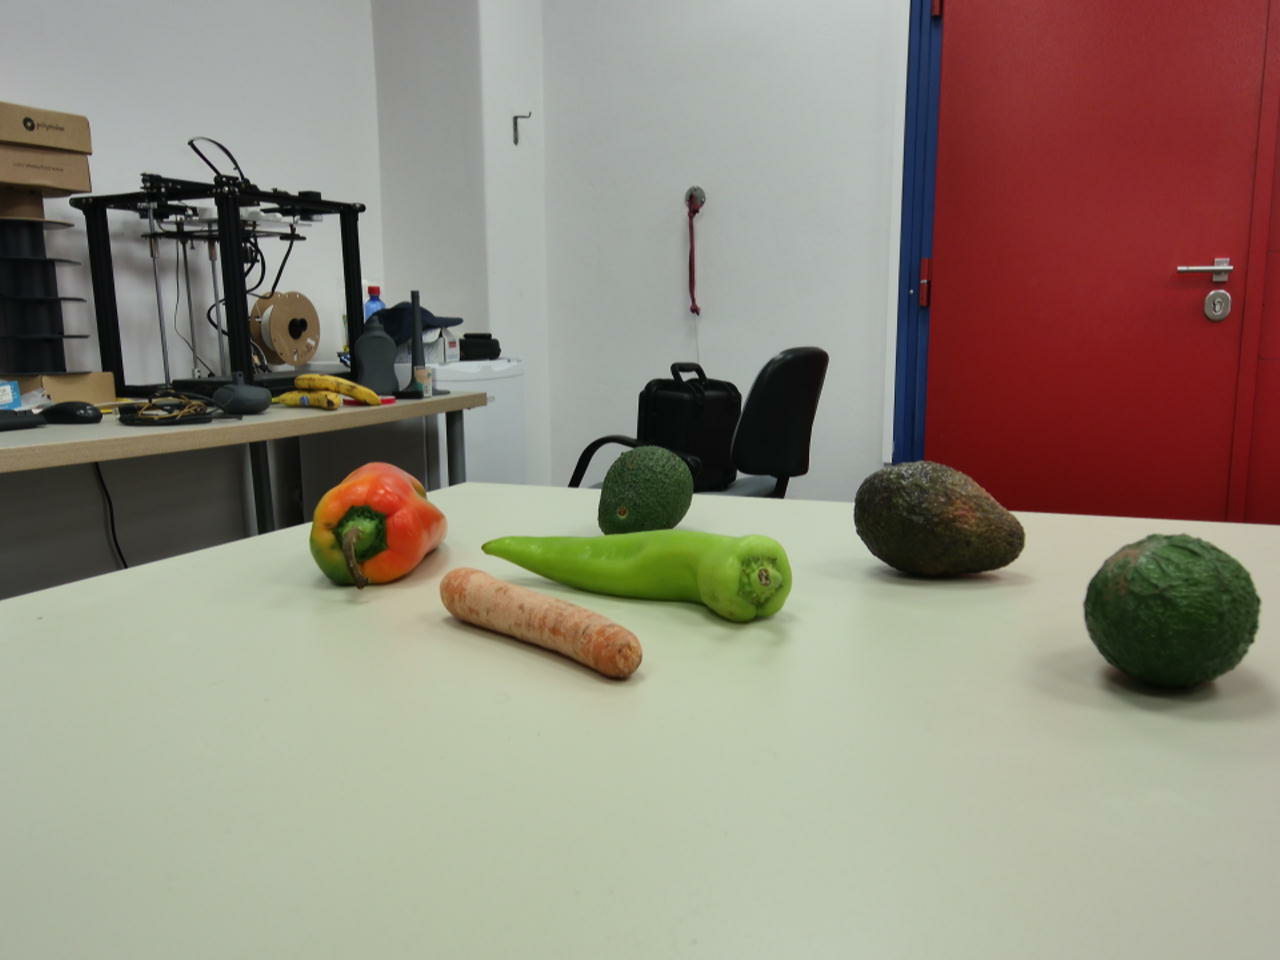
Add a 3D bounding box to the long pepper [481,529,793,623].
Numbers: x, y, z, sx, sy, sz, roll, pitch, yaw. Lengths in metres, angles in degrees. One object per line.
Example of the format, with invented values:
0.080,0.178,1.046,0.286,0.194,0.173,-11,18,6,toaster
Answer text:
0.003,0.046,0.560,0.205,0.045,0.065,5,8,40,long pepper
